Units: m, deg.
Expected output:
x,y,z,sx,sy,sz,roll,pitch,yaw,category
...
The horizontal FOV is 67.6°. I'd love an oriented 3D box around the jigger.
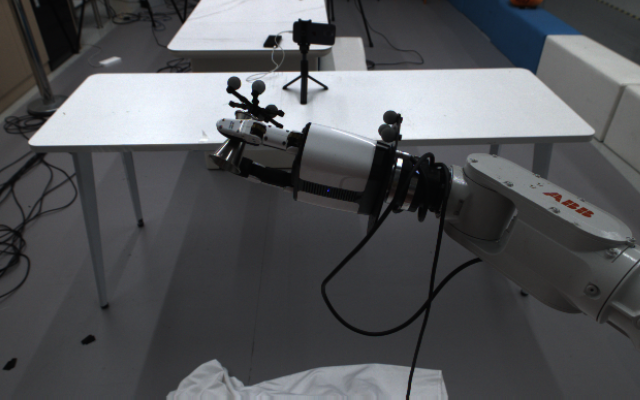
x,y,z,sx,sy,sz,roll,pitch,yaw,category
-0.104,-0.074,0.601,0.043,0.043,0.071,20,72,23,jigger
